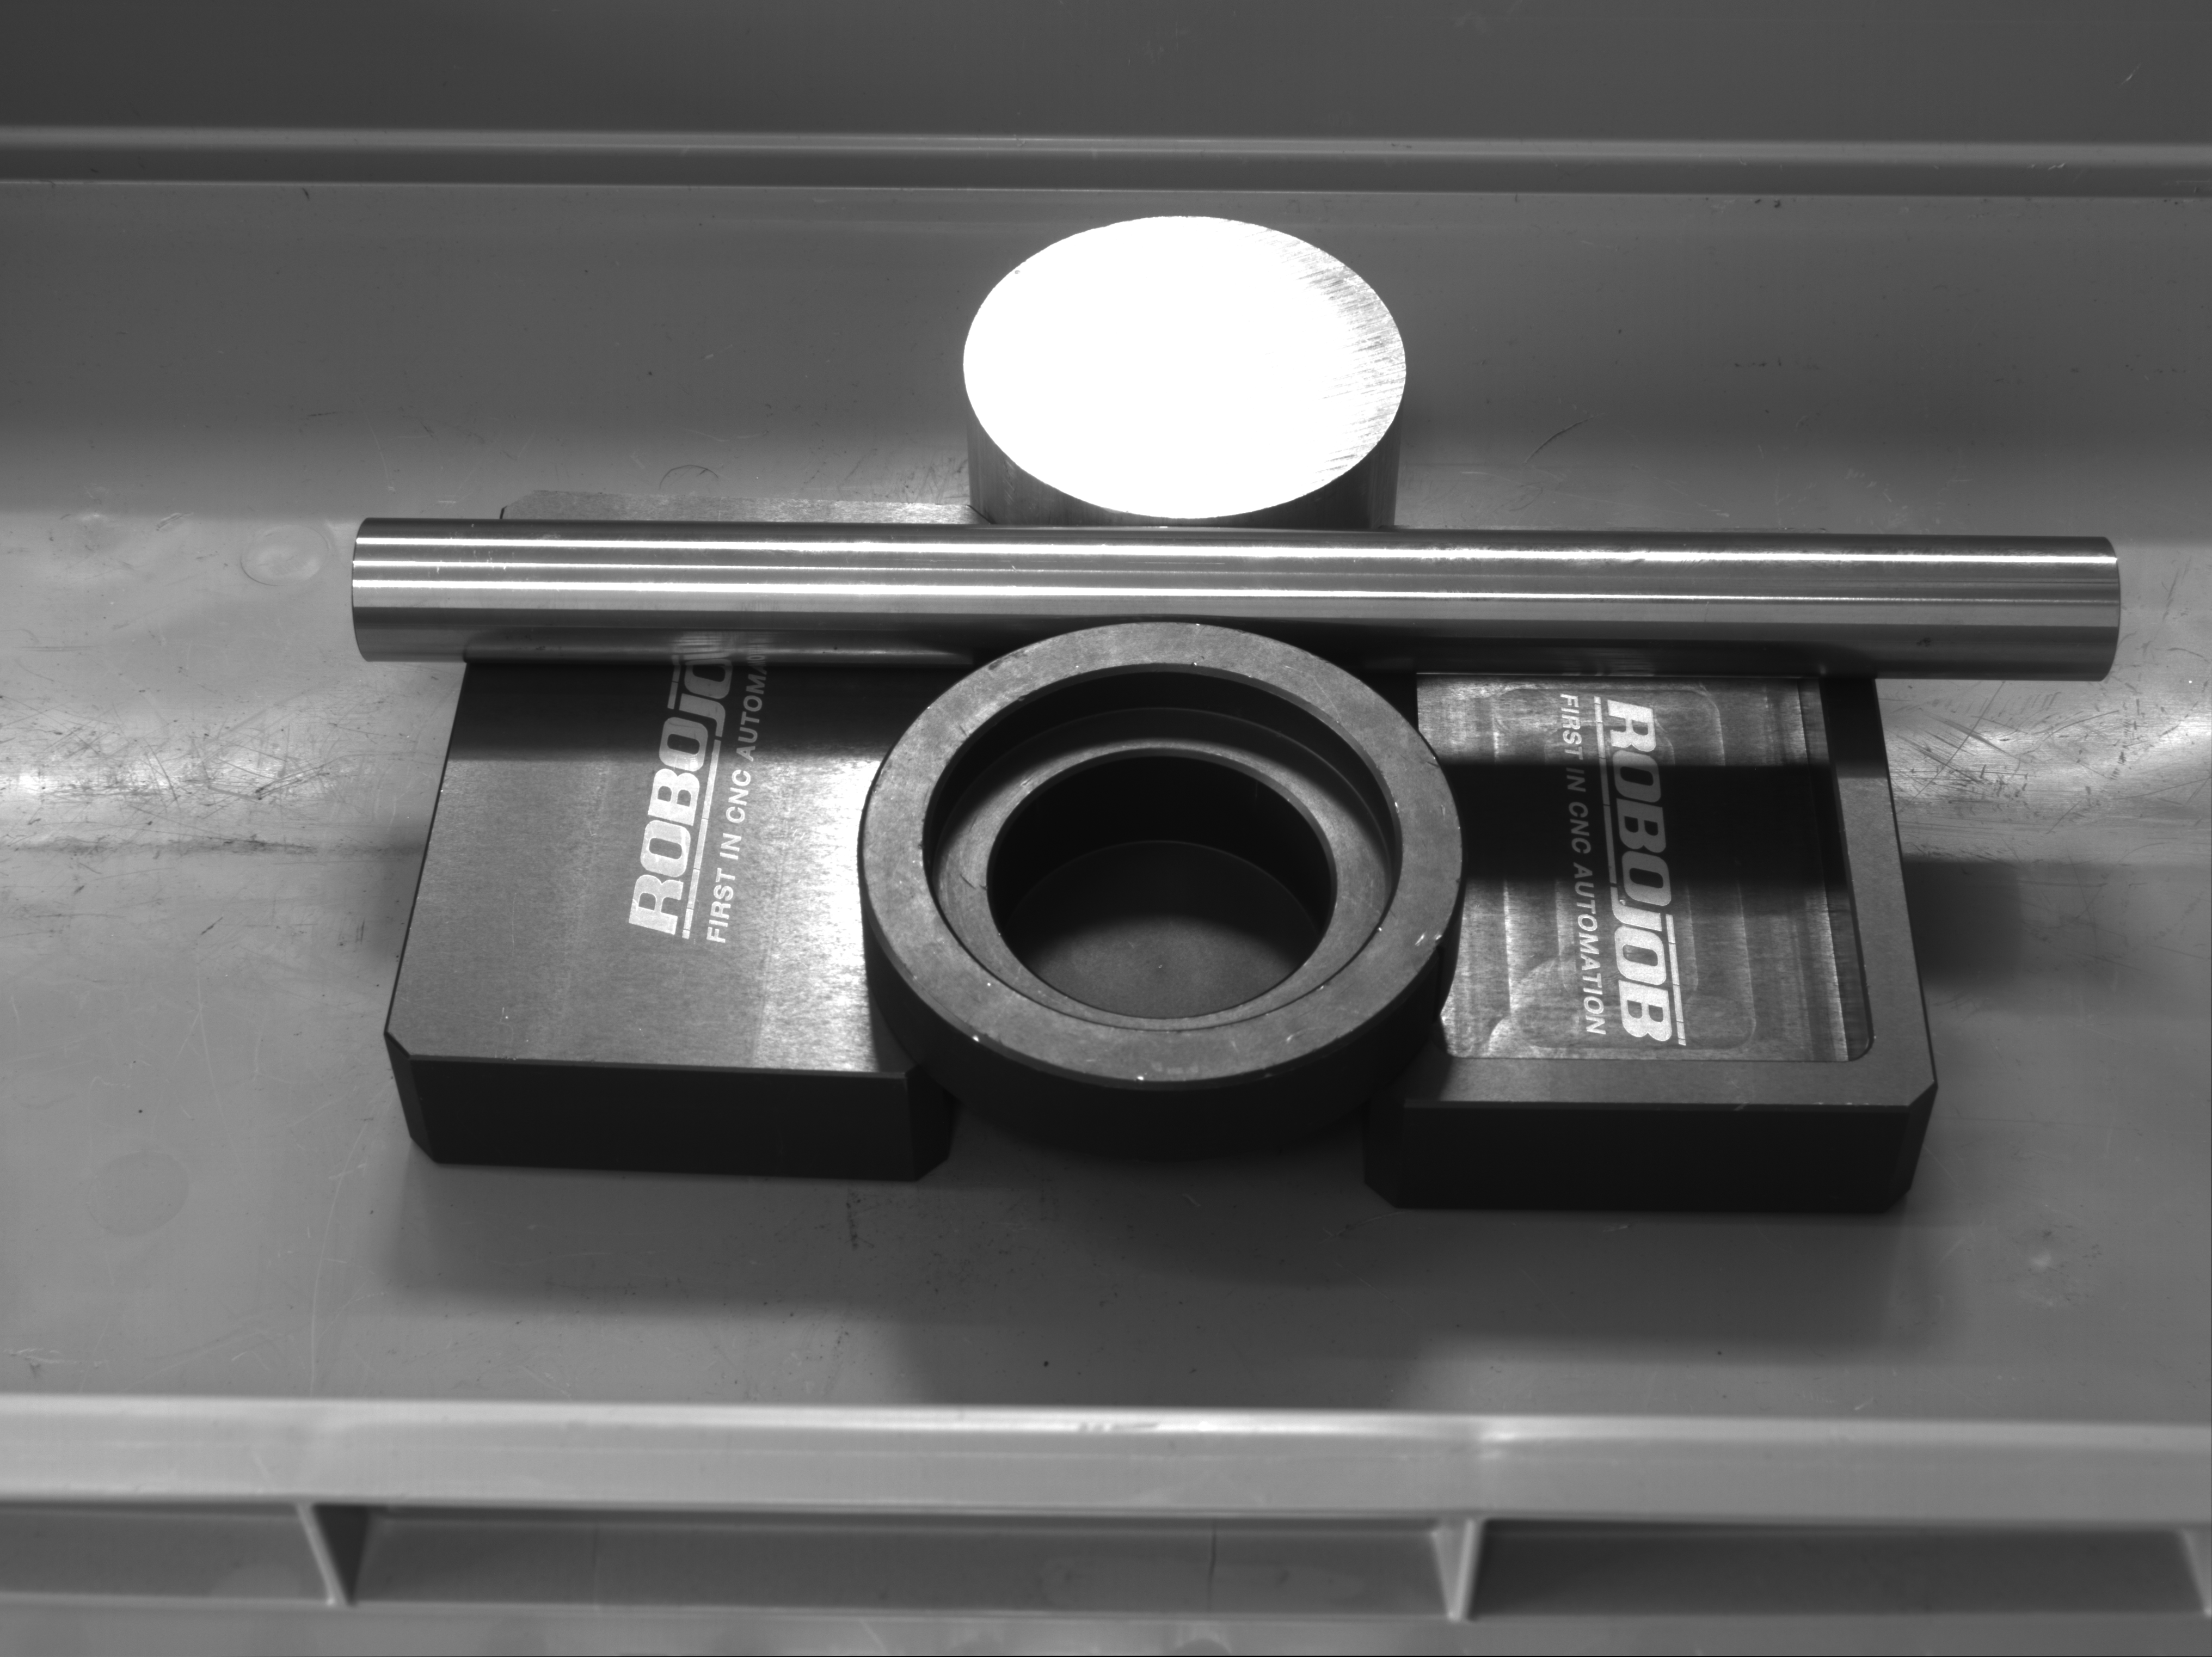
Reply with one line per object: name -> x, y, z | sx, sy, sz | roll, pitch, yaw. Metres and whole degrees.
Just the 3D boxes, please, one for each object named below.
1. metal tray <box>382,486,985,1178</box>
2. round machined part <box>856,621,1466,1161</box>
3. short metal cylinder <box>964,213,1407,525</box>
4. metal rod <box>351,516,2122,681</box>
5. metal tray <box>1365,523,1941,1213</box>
metal tray -> -0.068, -0.002, 0.638 | 0.090, 0.030, 0.130 | 2, 50, 2
round machined part -> 0.009, 0.015, 0.605 | 0.098, 0.042, 0.098 | 0, 50, 0
short metal cylinder -> 0.014, -0.069, 0.682 | 0.080, 0.050, 0.080 | 0, 50, 0
metal rod -> 0.022, -0.040, 0.634 | 0.300, 0.025, 0.025 | 1, 50, 1
metal tray -> 0.089, 0.004, 0.634 | 0.090, 0.030, 0.130 | 1, 50, 1
